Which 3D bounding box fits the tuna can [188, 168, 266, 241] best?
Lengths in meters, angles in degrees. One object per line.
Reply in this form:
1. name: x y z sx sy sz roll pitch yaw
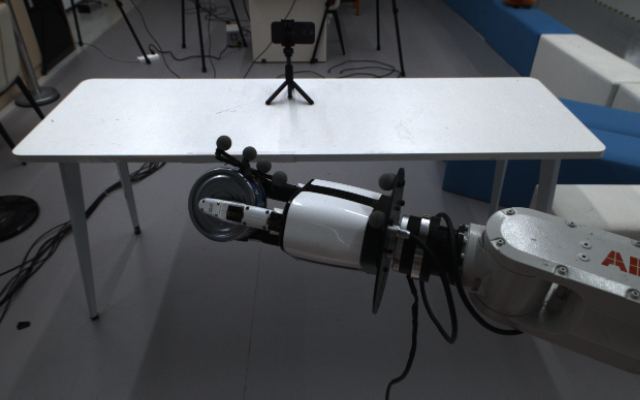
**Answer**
1. tuna can: -0.106 0.005 0.558 0.085 0.085 0.034 12 4 14
